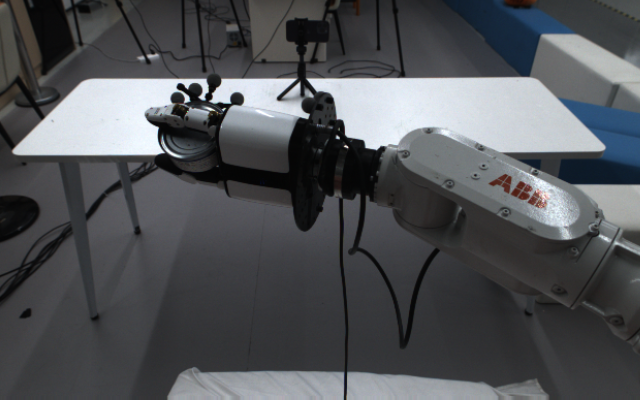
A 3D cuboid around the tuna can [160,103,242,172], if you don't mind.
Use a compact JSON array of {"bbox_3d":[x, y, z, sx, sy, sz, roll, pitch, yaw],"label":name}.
[{"bbox_3d":[-0.149,-0.077,0.592,0.085,0.034,0.085,-3,61,5],"label":"tuna can"}]
